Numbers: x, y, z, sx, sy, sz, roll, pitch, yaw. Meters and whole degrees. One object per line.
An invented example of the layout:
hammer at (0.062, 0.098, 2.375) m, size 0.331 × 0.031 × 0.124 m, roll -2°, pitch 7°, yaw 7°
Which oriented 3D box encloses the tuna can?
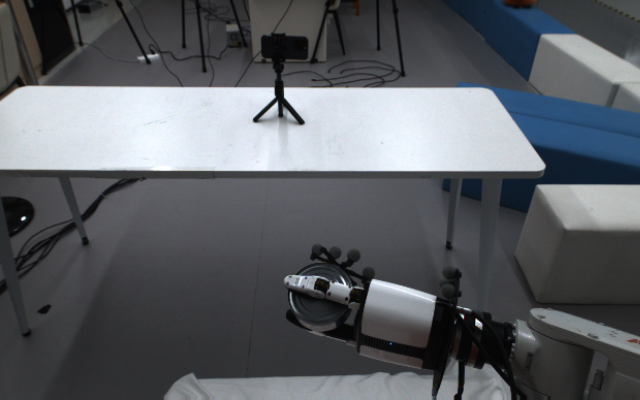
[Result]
tuna can at (0.004, 0.127, 0.639) m, size 0.085 × 0.034 × 0.085 m, roll -4°, pitch 56°, yaw 6°
